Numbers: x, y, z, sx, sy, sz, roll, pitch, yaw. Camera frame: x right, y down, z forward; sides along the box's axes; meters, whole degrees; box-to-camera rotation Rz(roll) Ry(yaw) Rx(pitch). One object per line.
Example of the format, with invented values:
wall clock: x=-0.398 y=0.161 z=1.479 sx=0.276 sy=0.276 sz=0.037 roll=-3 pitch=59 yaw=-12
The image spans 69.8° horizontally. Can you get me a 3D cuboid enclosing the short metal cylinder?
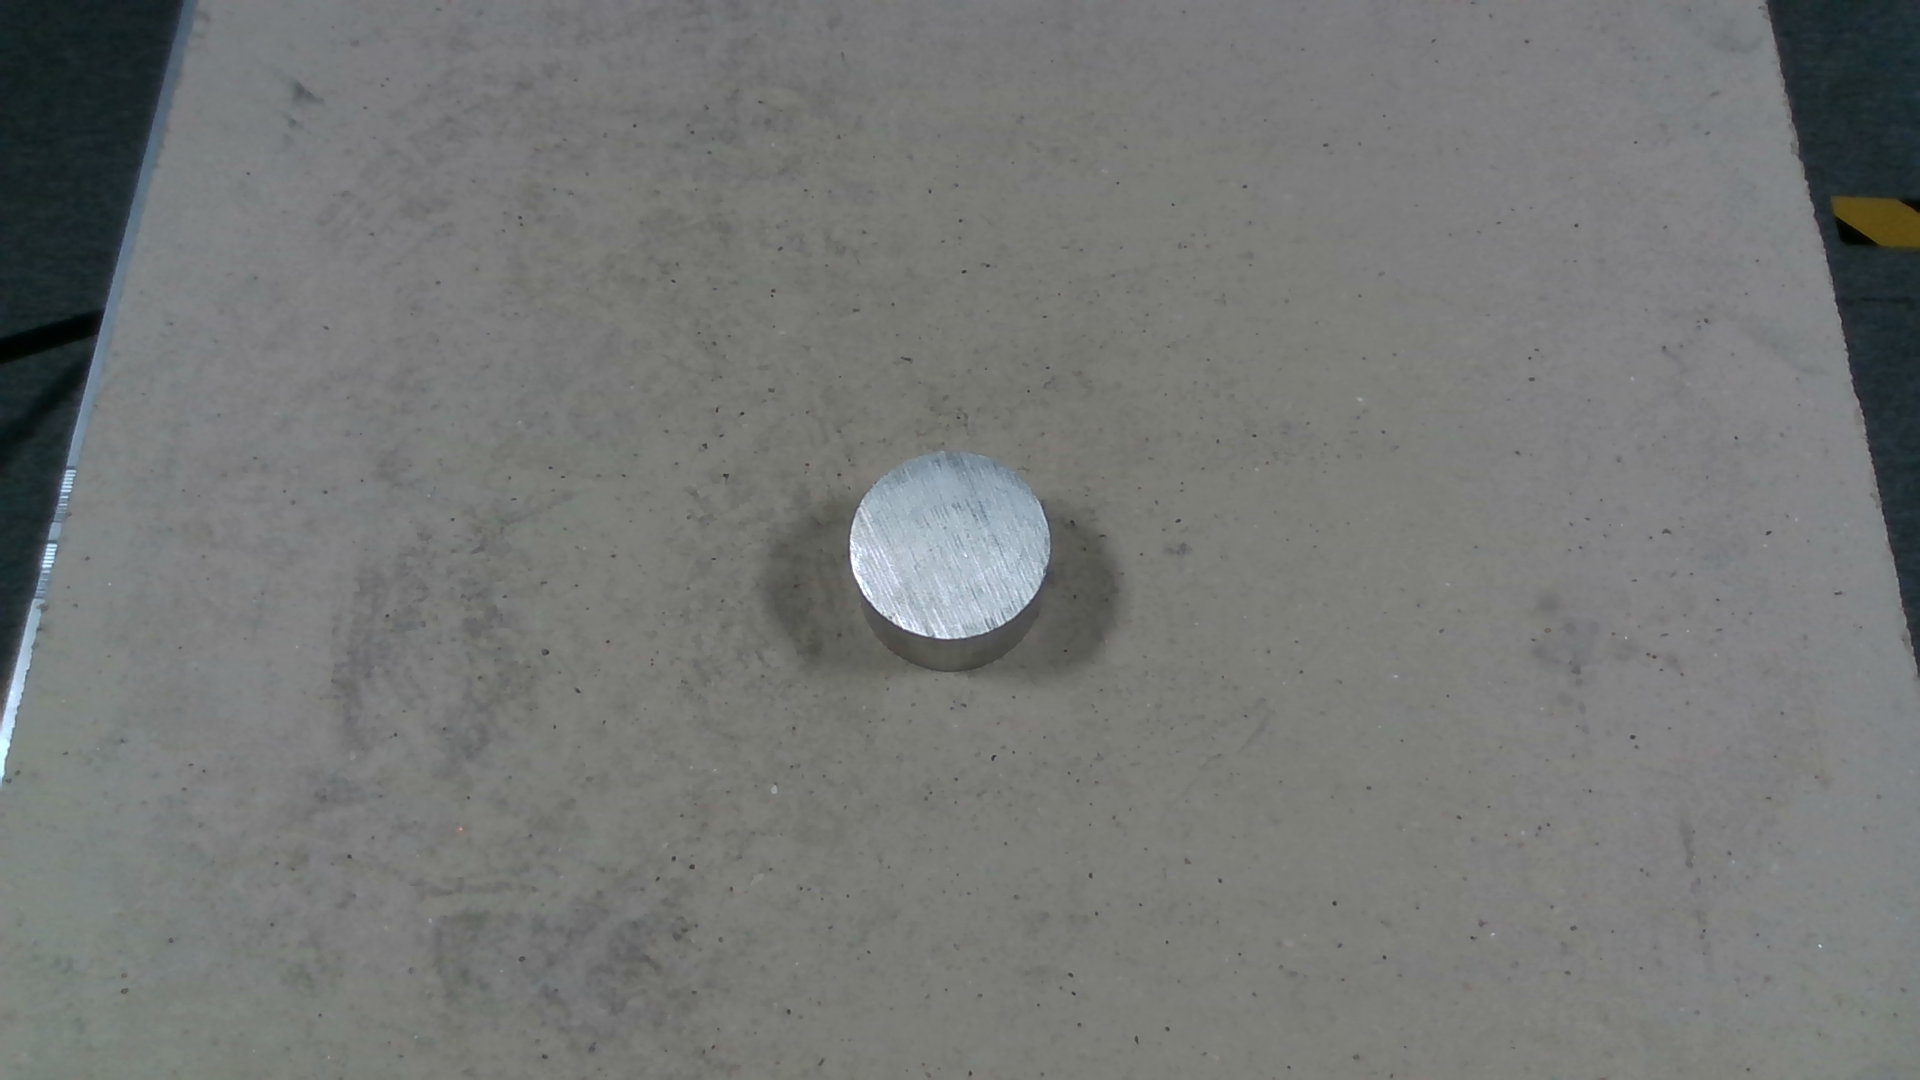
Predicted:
short metal cylinder: x=-0.004 y=0.010 z=0.572 sx=0.080 sy=0.050 sz=0.080 roll=0 pitch=70 yaw=0
